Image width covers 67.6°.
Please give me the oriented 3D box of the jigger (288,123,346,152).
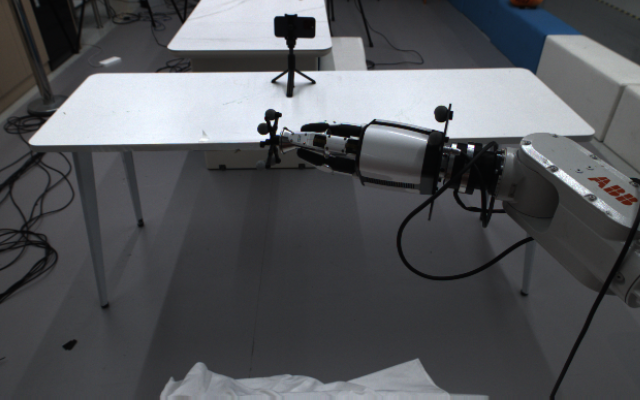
[{"bbox_3d":[-0.015,-0.087,0.701,0.071,0.043,0.043,5,34,14],"label":"jigger"}]
